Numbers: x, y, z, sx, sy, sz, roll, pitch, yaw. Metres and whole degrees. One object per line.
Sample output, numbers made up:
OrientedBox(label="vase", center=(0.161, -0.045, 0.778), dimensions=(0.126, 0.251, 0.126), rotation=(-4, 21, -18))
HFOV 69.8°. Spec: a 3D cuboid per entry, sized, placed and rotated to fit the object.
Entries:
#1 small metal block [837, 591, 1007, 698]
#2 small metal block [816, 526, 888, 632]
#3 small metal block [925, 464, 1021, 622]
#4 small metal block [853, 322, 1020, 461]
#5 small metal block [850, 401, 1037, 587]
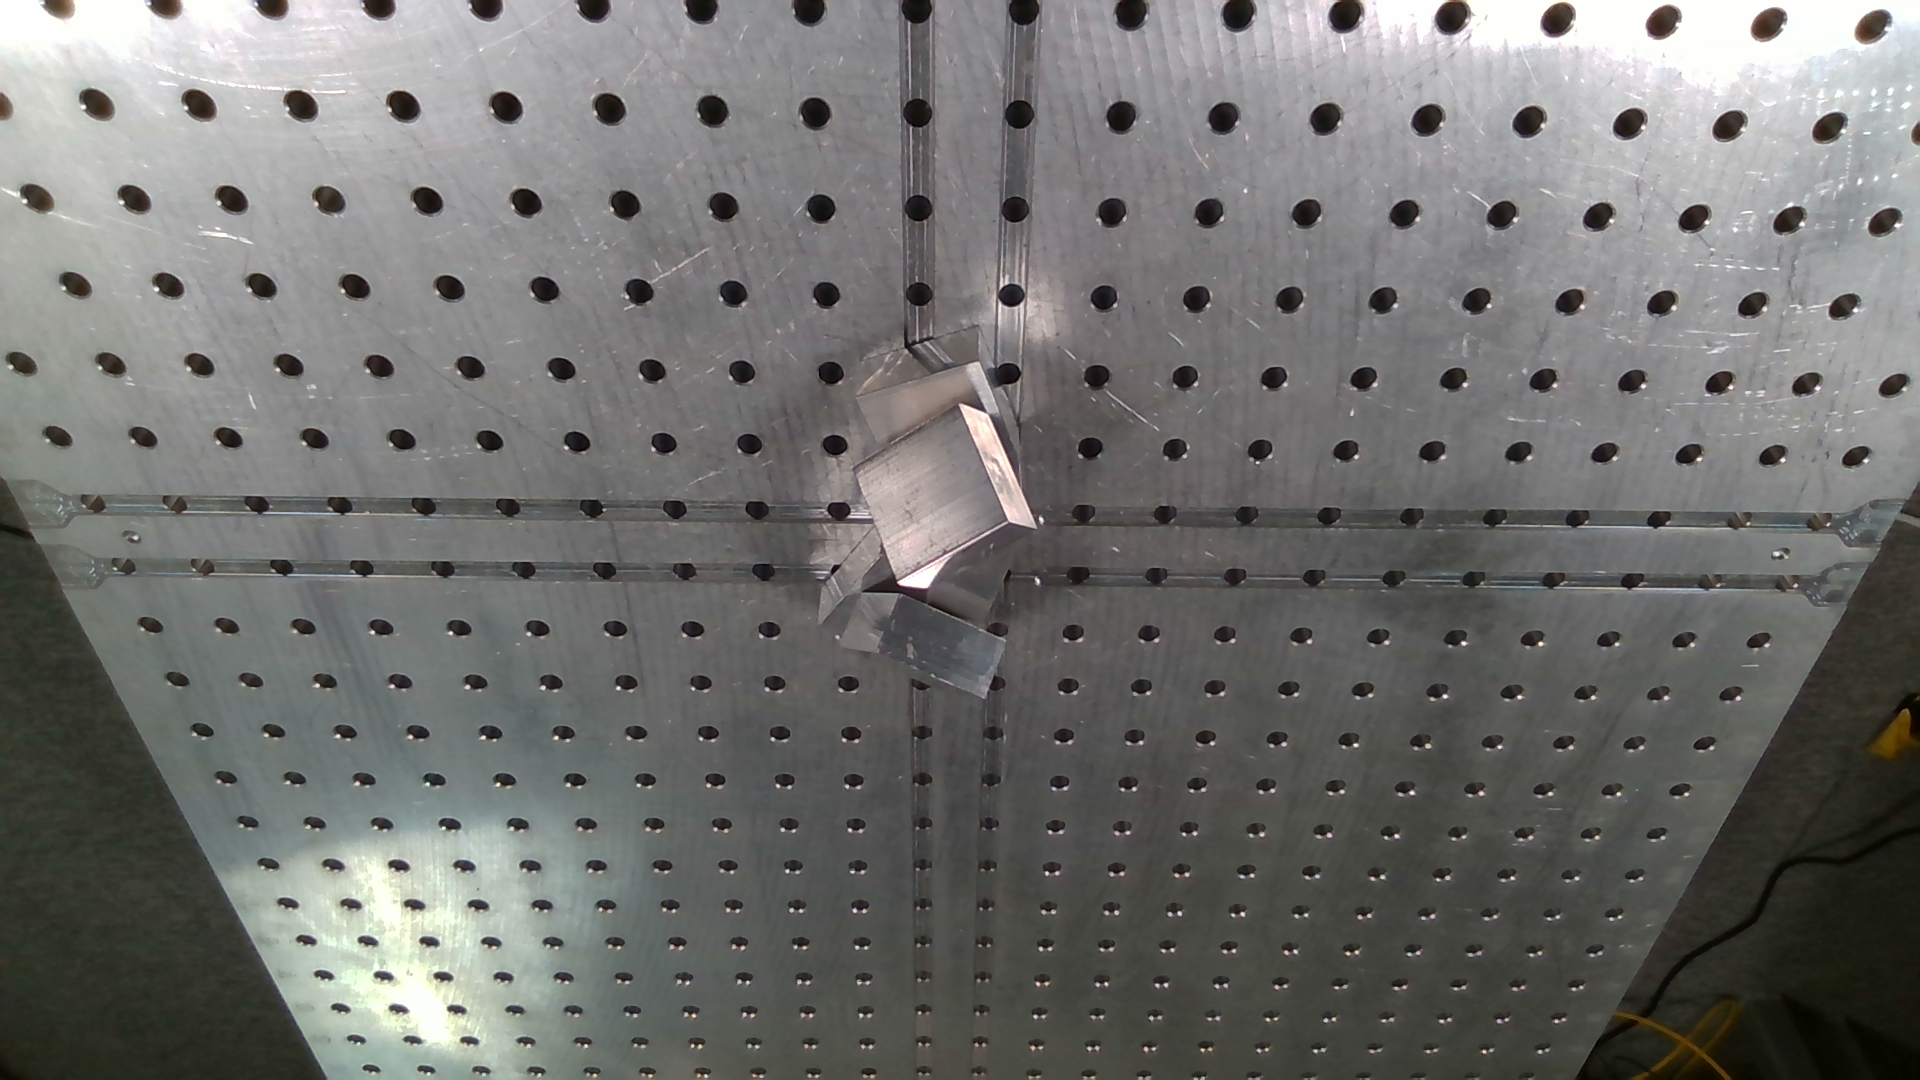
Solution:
OrientedBox(label="small metal block", center=(-0.016, 0.042, 0.567), dimensions=(0.050, 0.025, 0.050), rotation=(25, 170, -20))
OrientedBox(label="small metal block", center=(-0.027, 0.024, 0.602), dimensions=(0.050, 0.025, 0.050), rotation=(29, 124, -22))
OrientedBox(label="small metal block", center=(0.005, -0.004, 0.563), dimensions=(0.025, 0.050, 0.050), rotation=(15, 128, -12))
OrientedBox(label="small metal block", center=(-0.008, -0.051, 0.540), dimensions=(0.050, 0.025, 0.050), rotation=(-15, 128, 12))
OrientedBox(label="small metal block", center=(-0.006, -0.016, 0.516), dimensions=(0.050, 0.050, 0.025), rotation=(-29, 162, 22))
